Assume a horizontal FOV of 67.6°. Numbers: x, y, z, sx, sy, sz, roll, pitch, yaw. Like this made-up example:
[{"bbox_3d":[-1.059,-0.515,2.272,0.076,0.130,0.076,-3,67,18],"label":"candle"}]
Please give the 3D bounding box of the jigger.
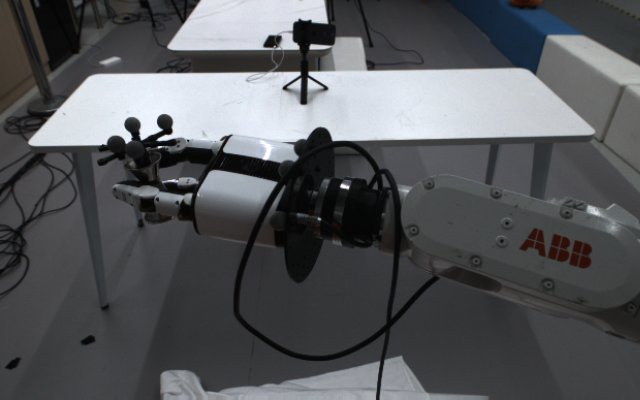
[{"bbox_3d":[-0.180,-0.015,0.537,0.043,0.071,0.043,-8,31,5],"label":"jigger"}]
